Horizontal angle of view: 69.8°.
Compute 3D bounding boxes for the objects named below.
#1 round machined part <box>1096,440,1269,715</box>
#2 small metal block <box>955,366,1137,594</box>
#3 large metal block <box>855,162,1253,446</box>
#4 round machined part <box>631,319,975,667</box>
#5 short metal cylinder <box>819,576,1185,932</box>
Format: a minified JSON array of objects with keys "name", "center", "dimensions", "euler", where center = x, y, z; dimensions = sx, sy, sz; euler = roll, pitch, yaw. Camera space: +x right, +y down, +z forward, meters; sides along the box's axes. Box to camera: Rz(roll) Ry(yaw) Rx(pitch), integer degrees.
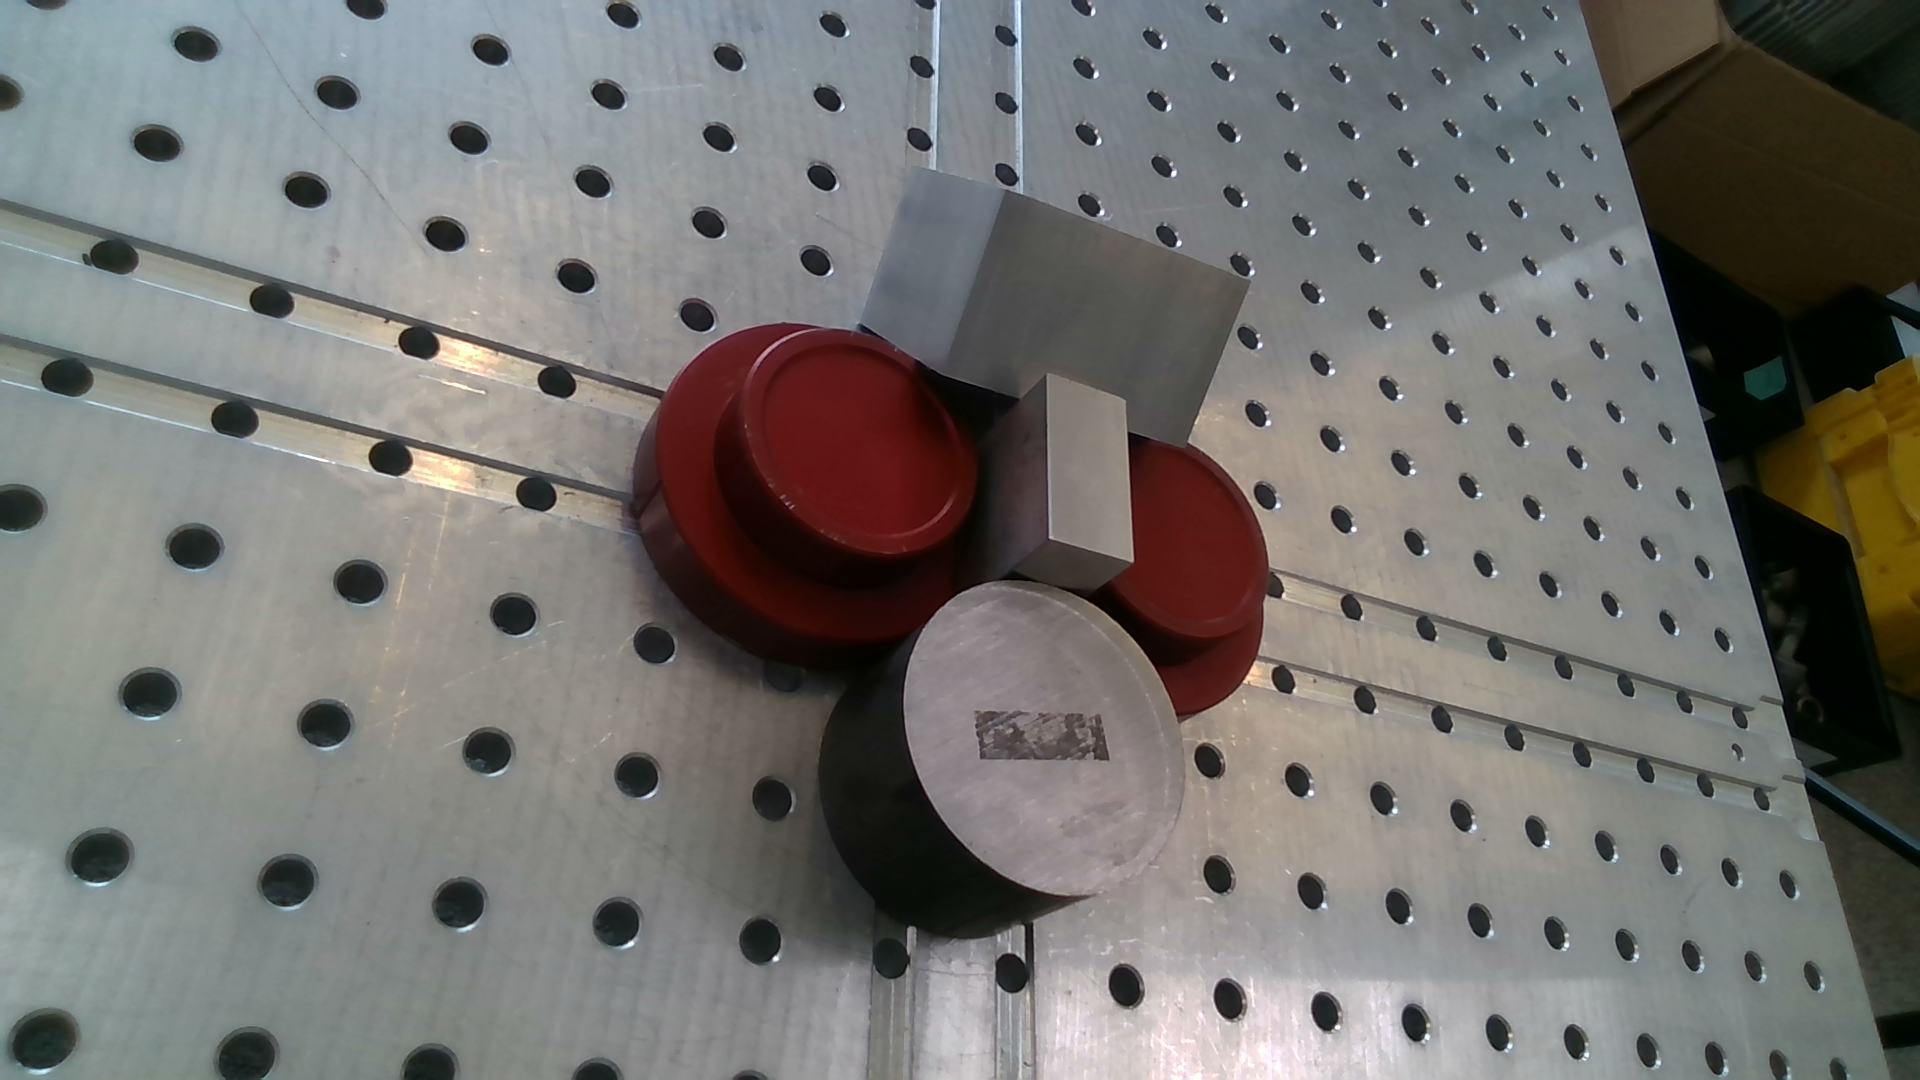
[{"name":"round machined part","center":[0.053,0.006,0.415],"dimensions":[0.098,0.042,0.098],"euler":[14,59,-25]},{"name":"small metal block","center":[0.022,-0.010,0.370],"dimensions":[0.025,0.050,0.050],"euler":[15,58,-24]},{"name":"large metal block","center":[0.024,-0.071,0.407],"dimensions":[0.080,0.080,0.050],"euler":[14,103,-25]},{"name":"round machined part","center":[-0.035,-0.019,0.374],"dimensions":[0.098,0.042,0.098],"euler":[14,59,-25]},{"name":"short metal cylinder","center":[0.011,0.056,0.355],"dimensions":[0.080,0.050,0.080],"euler":[14,59,-25]}]
